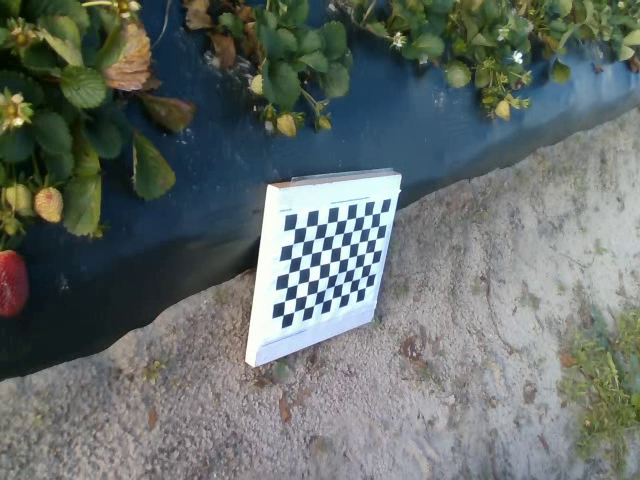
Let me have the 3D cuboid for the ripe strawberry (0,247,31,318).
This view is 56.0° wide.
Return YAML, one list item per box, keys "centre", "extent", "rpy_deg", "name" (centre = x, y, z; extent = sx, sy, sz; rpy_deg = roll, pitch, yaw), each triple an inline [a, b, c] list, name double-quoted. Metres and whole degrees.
- centre: [-0.320, 0.041, 0.604]
  extent: [0.052, 0.068, 0.044]
  rpy_deg: [-18, -11, -45]
  name: "ripe strawberry"
